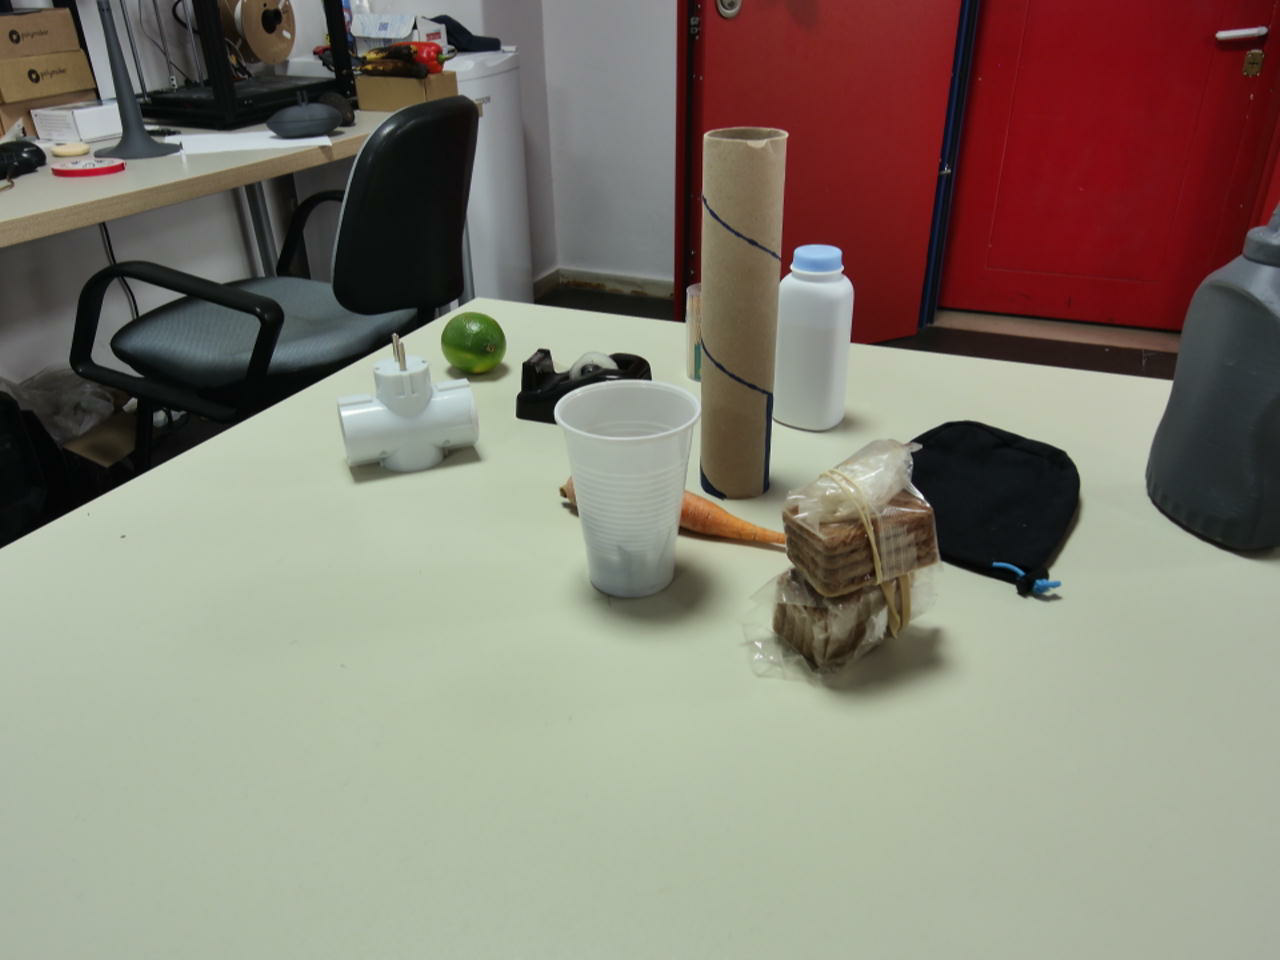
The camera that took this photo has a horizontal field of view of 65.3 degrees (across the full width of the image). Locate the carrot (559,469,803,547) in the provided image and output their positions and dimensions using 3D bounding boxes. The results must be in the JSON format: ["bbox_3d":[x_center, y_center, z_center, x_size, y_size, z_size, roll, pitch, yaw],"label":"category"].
[{"bbox_3d":[0.023,0.017,0.621,0.163,0.029,0.031,11,28,21],"label":"carrot"}]
